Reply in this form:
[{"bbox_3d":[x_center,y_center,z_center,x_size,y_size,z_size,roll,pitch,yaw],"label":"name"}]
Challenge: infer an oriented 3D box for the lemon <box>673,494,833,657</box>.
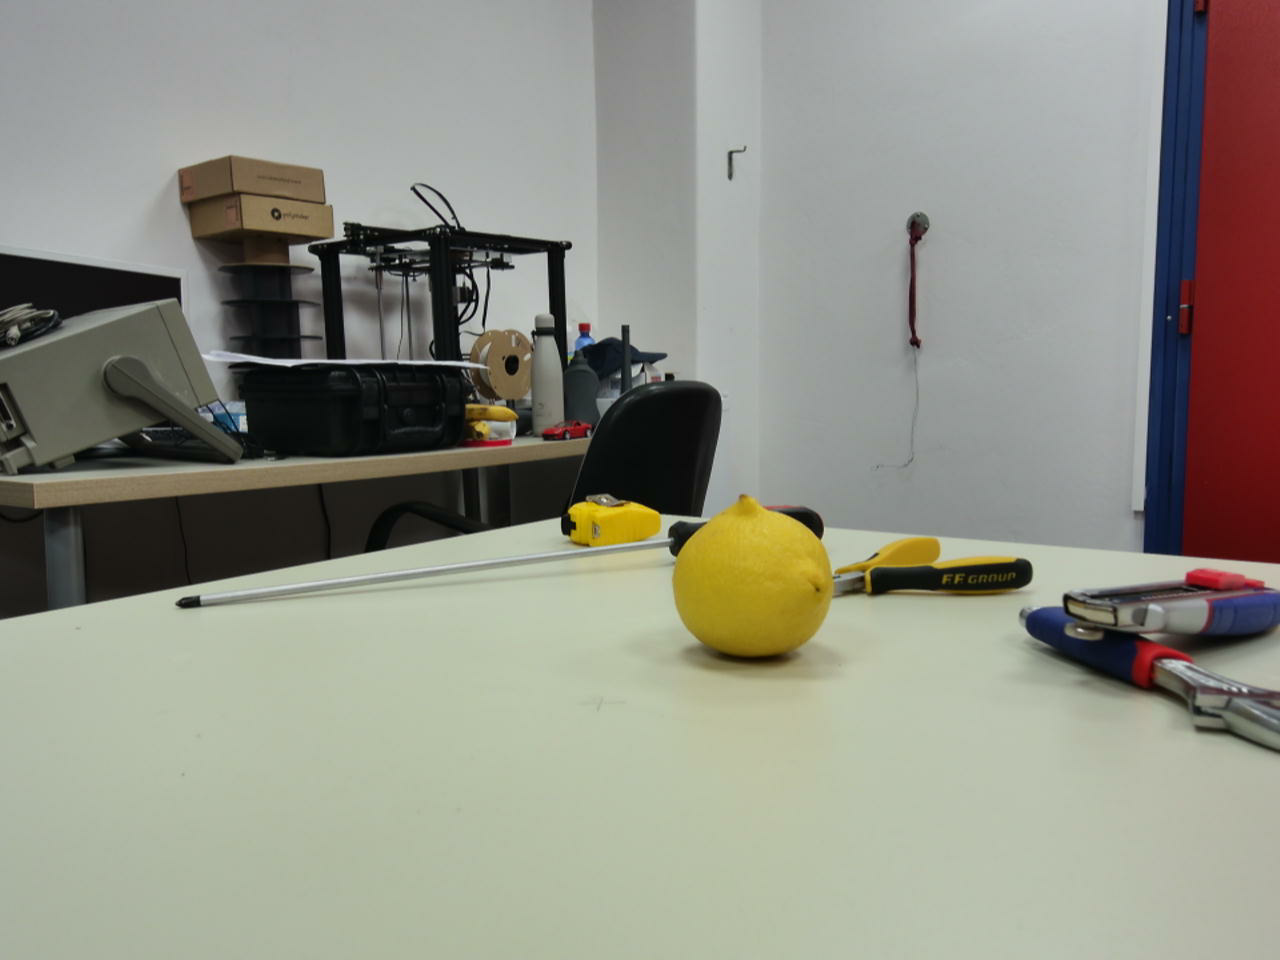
[{"bbox_3d":[0.050,0.042,0.448,0.070,0.071,0.071,0,3,3],"label":"lemon"}]
